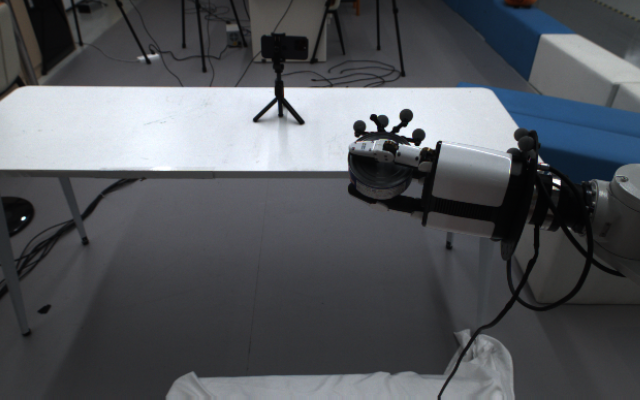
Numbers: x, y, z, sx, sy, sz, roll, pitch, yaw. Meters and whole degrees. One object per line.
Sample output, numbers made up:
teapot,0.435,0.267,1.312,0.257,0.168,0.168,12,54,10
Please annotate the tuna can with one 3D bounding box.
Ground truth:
tuna can,0.079,-0.049,0.620,0.085,0.034,0.085,-2,56,3
